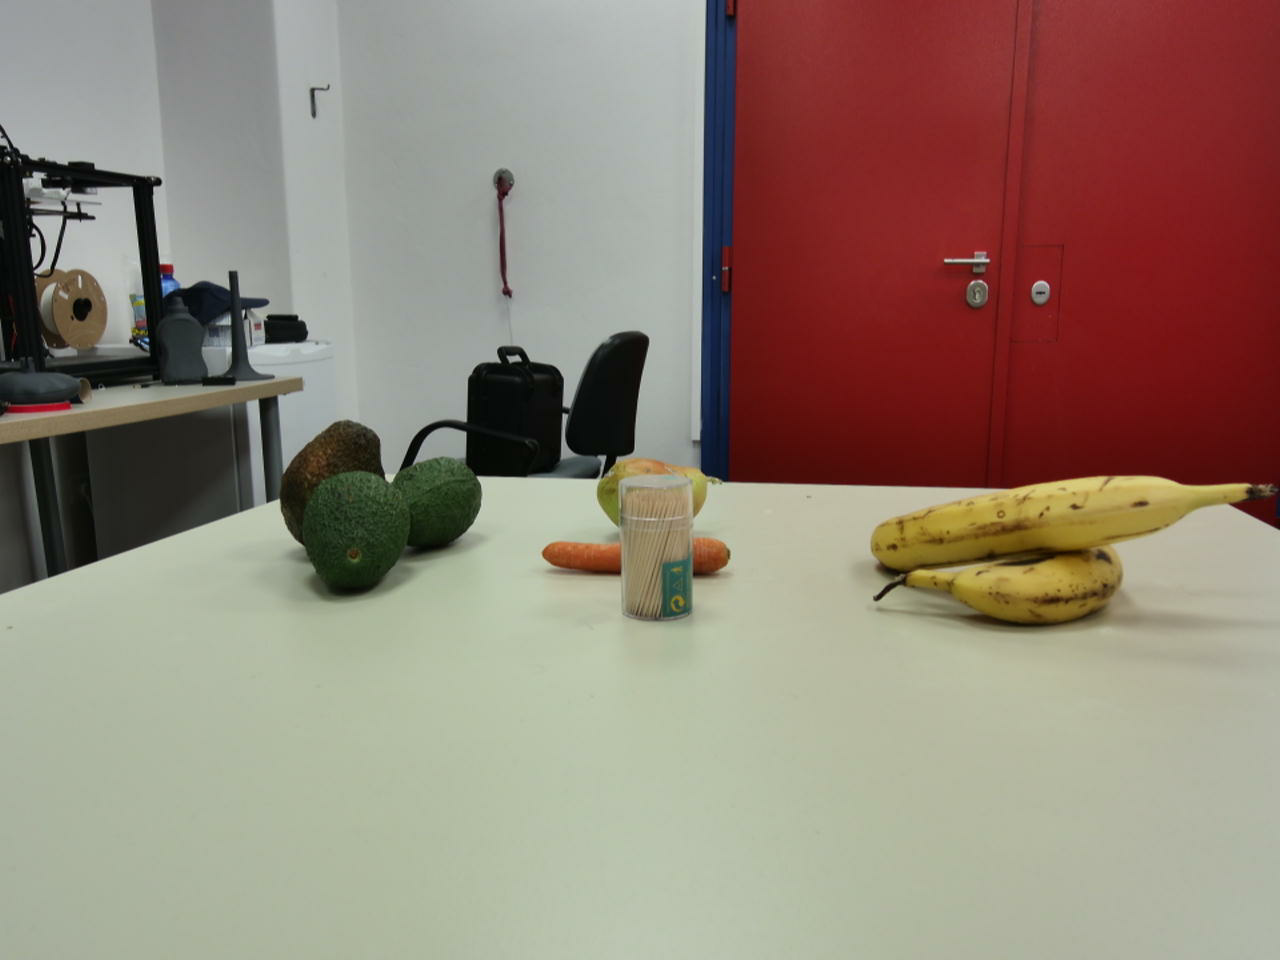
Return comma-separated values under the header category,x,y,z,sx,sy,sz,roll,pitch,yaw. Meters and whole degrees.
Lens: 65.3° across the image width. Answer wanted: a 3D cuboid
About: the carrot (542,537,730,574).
category,x,y,z,sx,sy,sz,roll,pitch,yaw
carrot,-0.003,0.048,0.643,0.122,0.023,0.024,1,8,8
